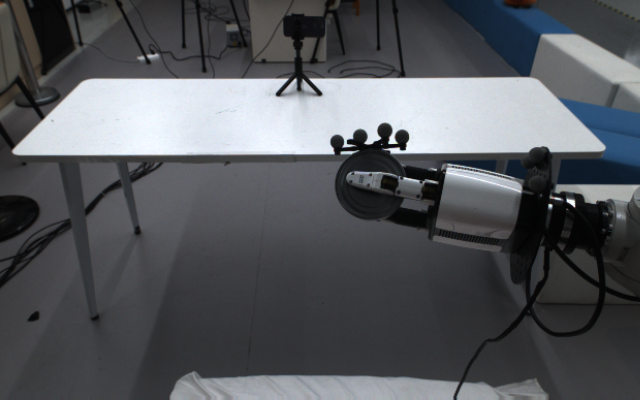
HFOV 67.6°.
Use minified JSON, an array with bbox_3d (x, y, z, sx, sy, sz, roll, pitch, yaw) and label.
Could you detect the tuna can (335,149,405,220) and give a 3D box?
[{"bbox_3d":[0.064,-0.018,0.589,0.085,0.085,0.034,10,-7,12],"label":"tuna can"}]
